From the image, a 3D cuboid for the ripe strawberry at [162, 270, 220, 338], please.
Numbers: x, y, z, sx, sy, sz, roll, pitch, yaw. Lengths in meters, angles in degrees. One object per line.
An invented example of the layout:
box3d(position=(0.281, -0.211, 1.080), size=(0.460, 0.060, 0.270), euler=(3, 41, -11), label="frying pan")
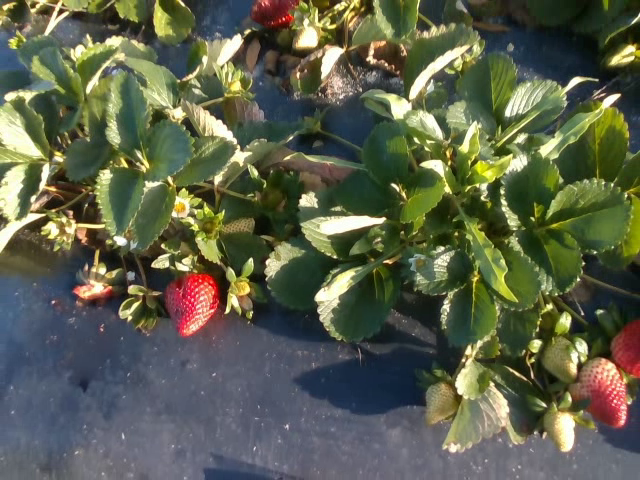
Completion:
box3d(position=(-0.104, 0.054, 0.474), size=(0.052, 0.052, 0.041), euler=(-18, -50, 20), label="ripe strawberry")
